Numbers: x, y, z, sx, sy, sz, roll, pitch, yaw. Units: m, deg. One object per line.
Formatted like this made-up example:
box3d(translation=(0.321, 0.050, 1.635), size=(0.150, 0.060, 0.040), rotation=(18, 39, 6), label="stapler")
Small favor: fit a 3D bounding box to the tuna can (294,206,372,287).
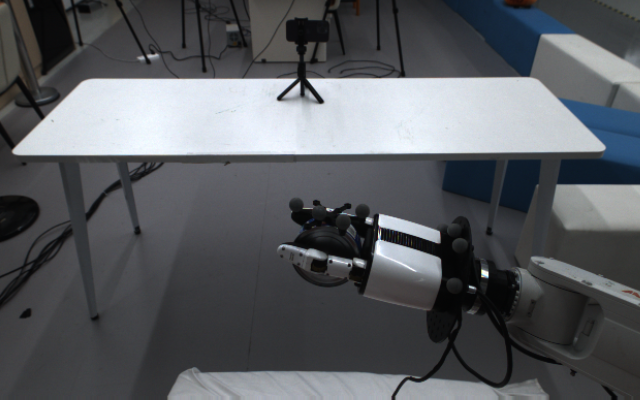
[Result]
box3d(translation=(0.011, 0.068, 0.597), size=(0.085, 0.085, 0.034), rotation=(6, 22, 6), label="tuna can")
